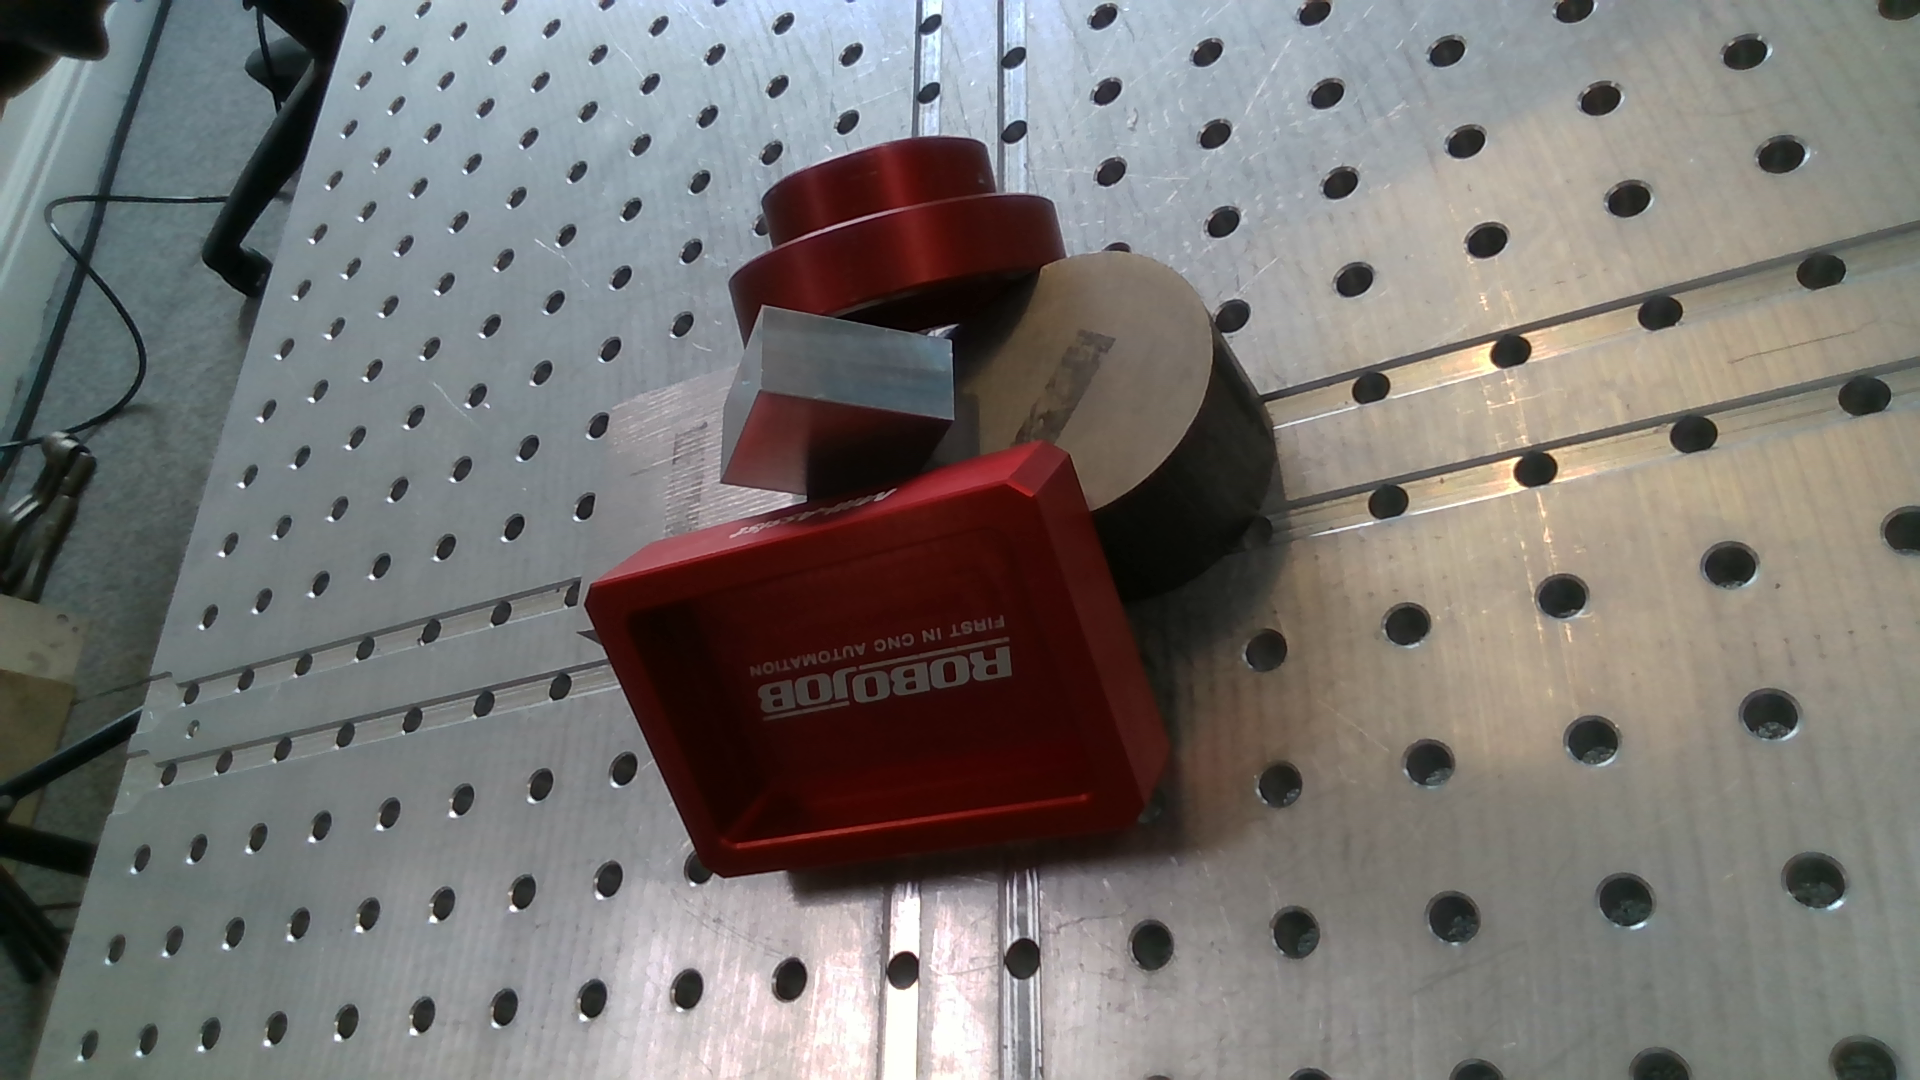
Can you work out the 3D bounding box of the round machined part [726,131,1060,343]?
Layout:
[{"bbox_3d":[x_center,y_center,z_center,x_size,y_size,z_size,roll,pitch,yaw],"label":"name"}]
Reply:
[{"bbox_3d":[-0.021,-0.087,0.403,0.098,0.098,0.042,-13,92,26],"label":"round machined part"}]

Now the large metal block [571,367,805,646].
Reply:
[{"bbox_3d":[-0.066,-0.006,0.423,0.080,0.050,0.080,-12,60,26],"label":"large metal block"}]

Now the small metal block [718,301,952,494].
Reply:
[{"bbox_3d":[-0.034,-0.035,0.365,0.050,0.050,0.025,129,144,-58],"label":"small metal block"}]

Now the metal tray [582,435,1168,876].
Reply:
[{"bbox_3d":[-0.023,0.034,0.352,0.130,0.090,0.030,-13,16,25],"label":"metal tray"}]

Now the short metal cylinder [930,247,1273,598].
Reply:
[{"bbox_3d":[0.038,-0.031,0.372,0.080,0.050,0.080,-14,59,25],"label":"short metal cylinder"}]
